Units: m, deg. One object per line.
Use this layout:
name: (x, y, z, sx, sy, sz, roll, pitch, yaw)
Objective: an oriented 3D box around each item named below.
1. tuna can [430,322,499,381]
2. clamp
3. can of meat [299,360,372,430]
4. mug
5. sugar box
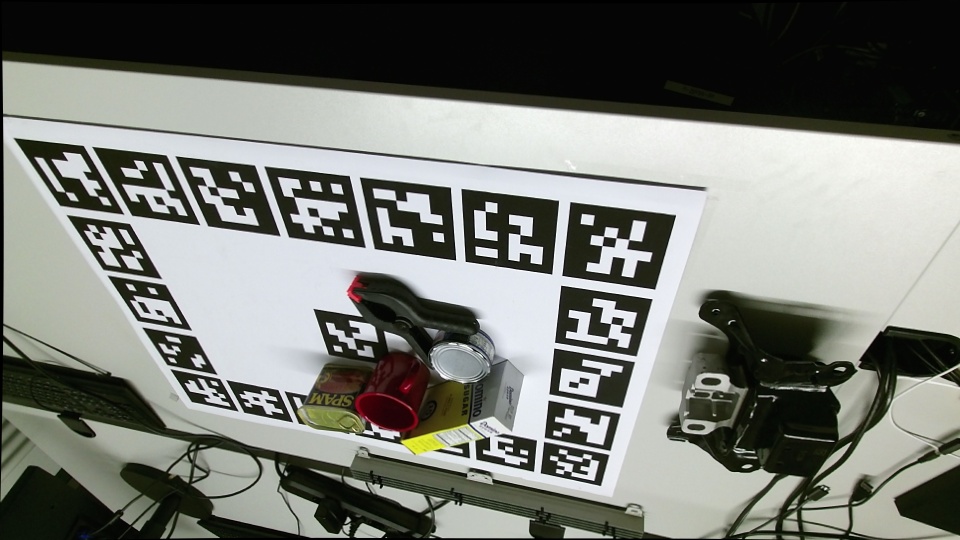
tuna can: (-0.019, 0.103, 0.696, 0.086, 0.033, 0.086, 8, 129, 10)
clamp: (-0.094, 0.047, 0.679, 0.165, 0.036, 0.122, 37, 134, -9)
can of meat: (-0.212, 0.183, 0.798, 0.102, 0.083, 0.058, 2, 130, 17)
mug: (-0.117, 0.162, 0.741, 0.093, 0.081, 0.117, 27, 130, -5)
sugar box: (-0.026, 0.184, 0.735, 0.177, 0.092, 0.045, -26, 119, 34)
